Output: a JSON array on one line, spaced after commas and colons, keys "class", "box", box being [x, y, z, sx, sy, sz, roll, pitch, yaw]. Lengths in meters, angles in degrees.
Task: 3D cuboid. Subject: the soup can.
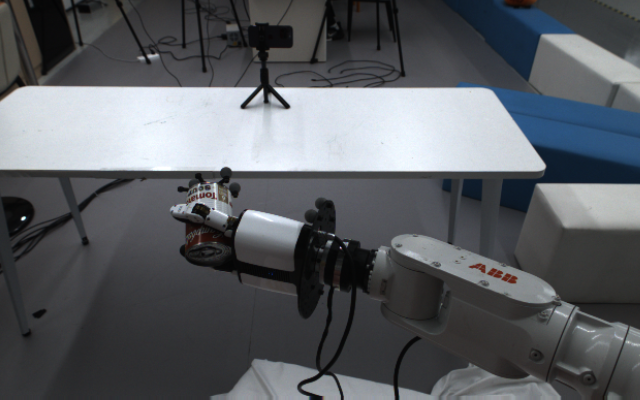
[{"class": "soup can", "box": [-0.155, 0.035, 0.683, 0.067, 0.067, 0.101, -5, 57, -10]}]
